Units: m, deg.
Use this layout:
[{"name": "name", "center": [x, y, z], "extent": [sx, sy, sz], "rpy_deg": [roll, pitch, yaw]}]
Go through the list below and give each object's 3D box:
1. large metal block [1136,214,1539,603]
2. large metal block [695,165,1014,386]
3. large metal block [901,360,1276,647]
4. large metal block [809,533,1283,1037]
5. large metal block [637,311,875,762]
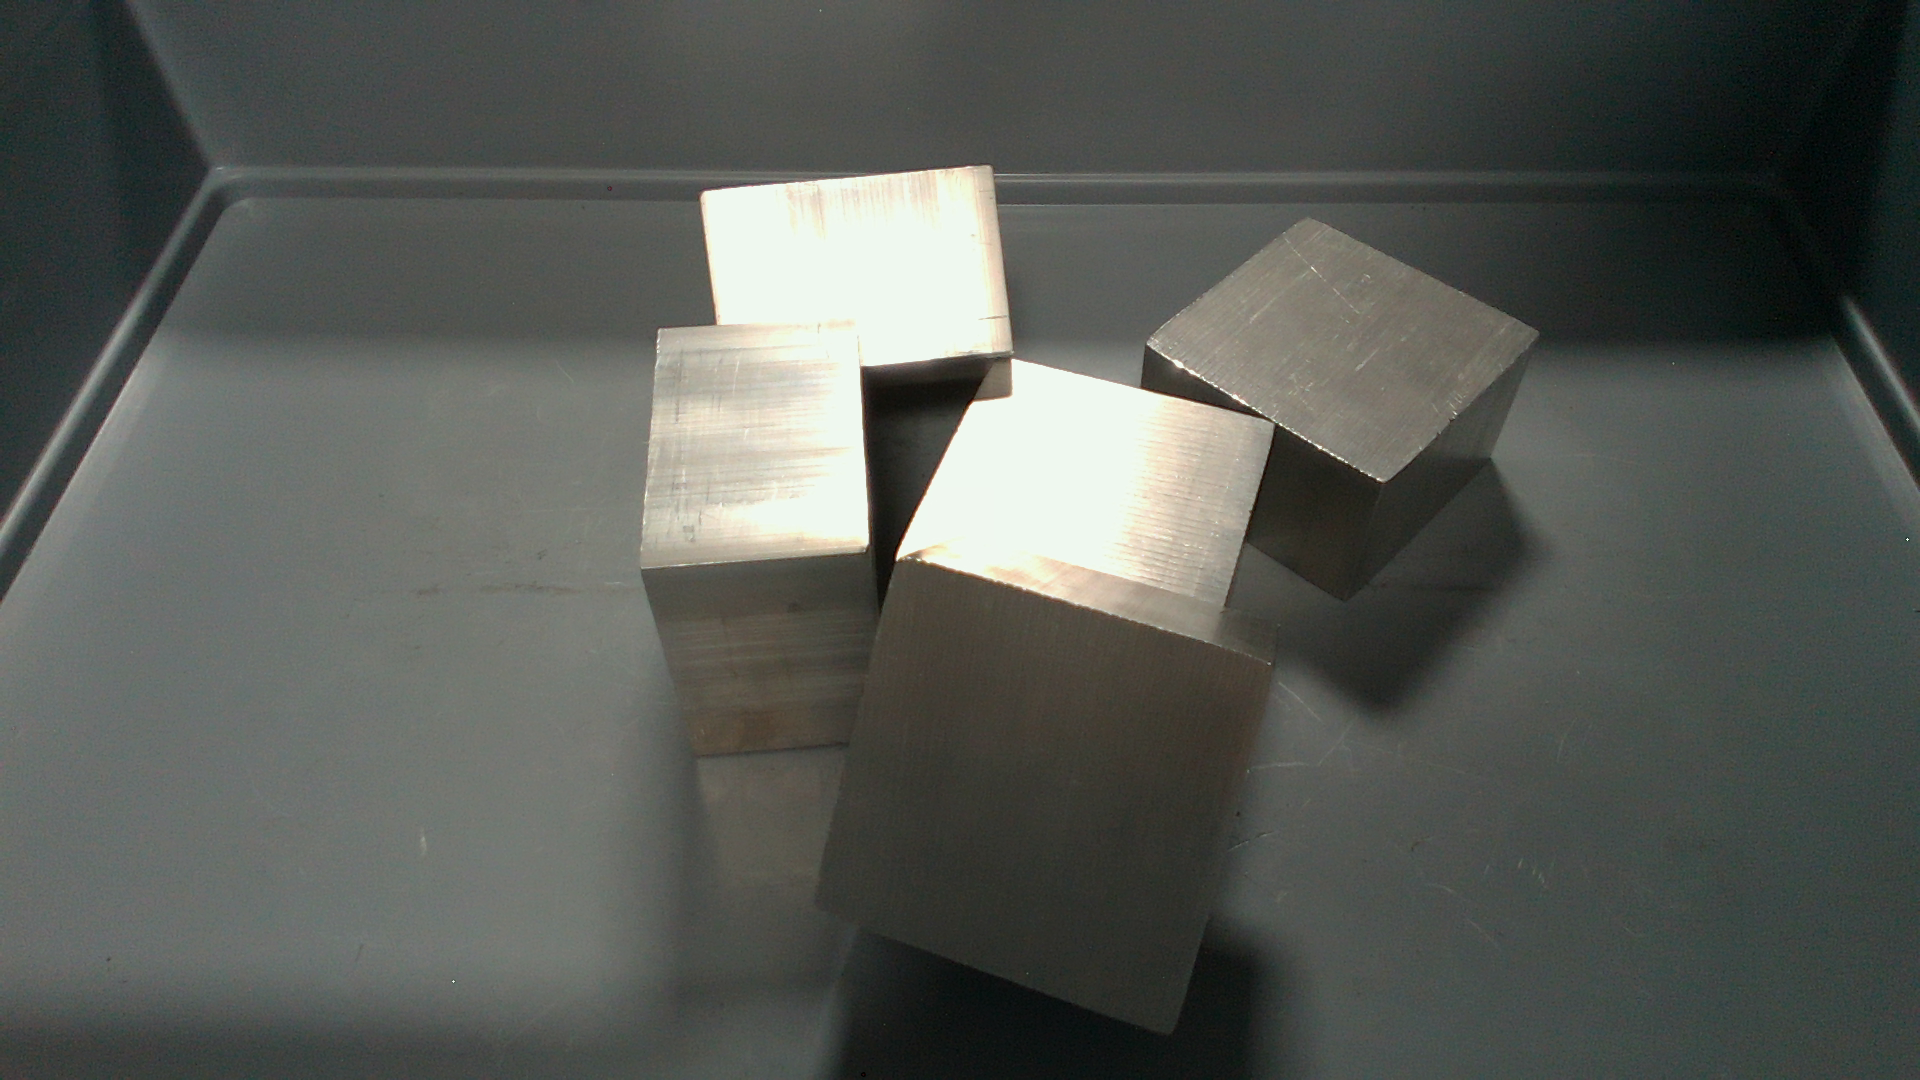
[{"name": "large metal block", "center": [0.108, -0.042, 0.409], "extent": [0.080, 0.050, 0.080], "rpy_deg": [36, 59, 27]}, {"name": "large metal block", "center": [-0.031, -0.073, 0.408], "extent": [0.080, 0.080, 0.050], "rpy_deg": [-6, 92, -4]}, {"name": "large metal block", "center": [0.034, 0.004, 0.372], "extent": [0.080, 0.050, 0.080], "rpy_deg": [15, 51, 12]}, {"name": "large metal block", "center": [0.021, 0.049, 0.305], "extent": [0.080, 0.080, 0.050], "rpy_deg": [16, 9, 12]}, {"name": "large metal block", "center": [-0.048, 0.000, 0.355], "extent": [0.050, 0.080, 0.080], "rpy_deg": [-4, 50, -3]}]
